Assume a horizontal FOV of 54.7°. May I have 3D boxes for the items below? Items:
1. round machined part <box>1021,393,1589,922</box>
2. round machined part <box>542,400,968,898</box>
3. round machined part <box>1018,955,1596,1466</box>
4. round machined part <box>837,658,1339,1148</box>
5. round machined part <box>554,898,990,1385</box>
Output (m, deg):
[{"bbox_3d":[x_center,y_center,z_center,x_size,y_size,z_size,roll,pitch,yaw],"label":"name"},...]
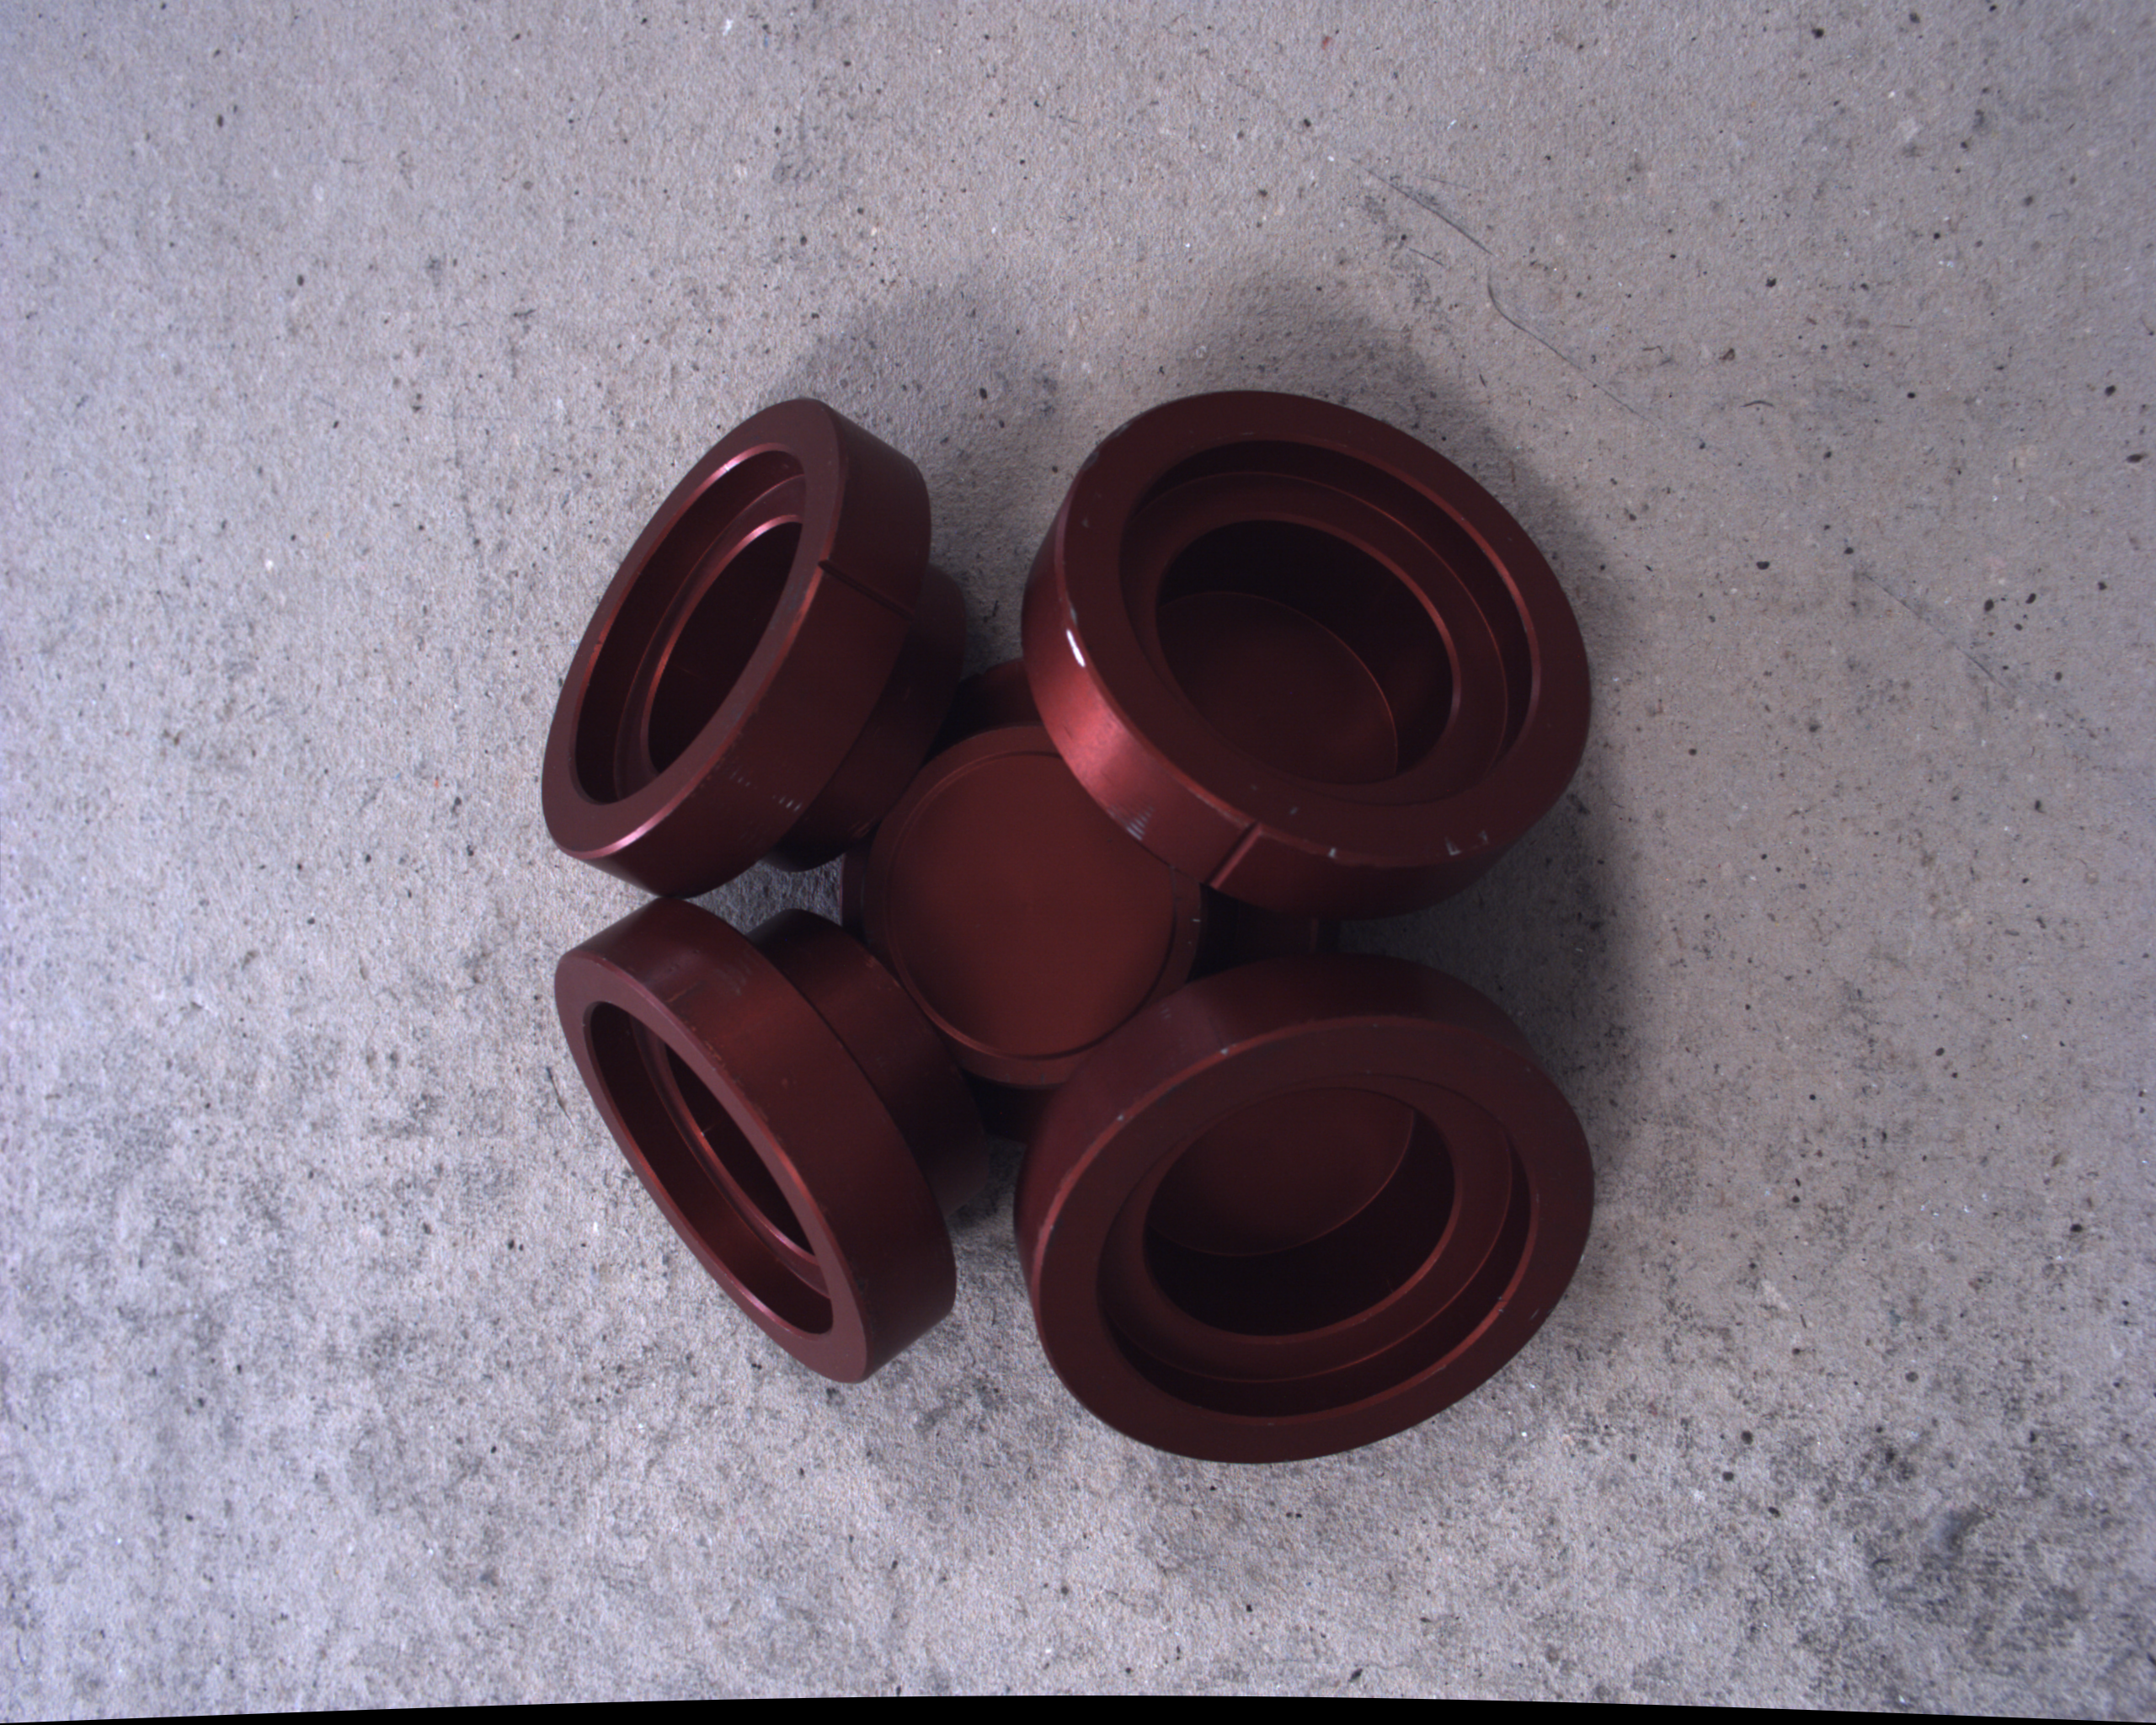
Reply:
[{"bbox_3d":[0.037,-0.032,0.370,0.098,0.099,0.042,52,146,13],"label":"round machined part"},{"bbox_3d":[-0.059,-0.037,0.405,0.098,0.042,0.098,-33,41,36],"label":"round machined part"},{"bbox_3d":[0.037,0.057,0.371,0.099,0.042,0.097,-6,121,-10],"label":"round machined part"},{"bbox_3d":[-0.002,0.008,0.402,0.098,0.042,0.097,-1,88,18],"label":"round machined part"},{"bbox_3d":[-0.055,0.048,0.402,0.042,0.097,0.098,-35,75,-28],"label":"round machined part"}]
